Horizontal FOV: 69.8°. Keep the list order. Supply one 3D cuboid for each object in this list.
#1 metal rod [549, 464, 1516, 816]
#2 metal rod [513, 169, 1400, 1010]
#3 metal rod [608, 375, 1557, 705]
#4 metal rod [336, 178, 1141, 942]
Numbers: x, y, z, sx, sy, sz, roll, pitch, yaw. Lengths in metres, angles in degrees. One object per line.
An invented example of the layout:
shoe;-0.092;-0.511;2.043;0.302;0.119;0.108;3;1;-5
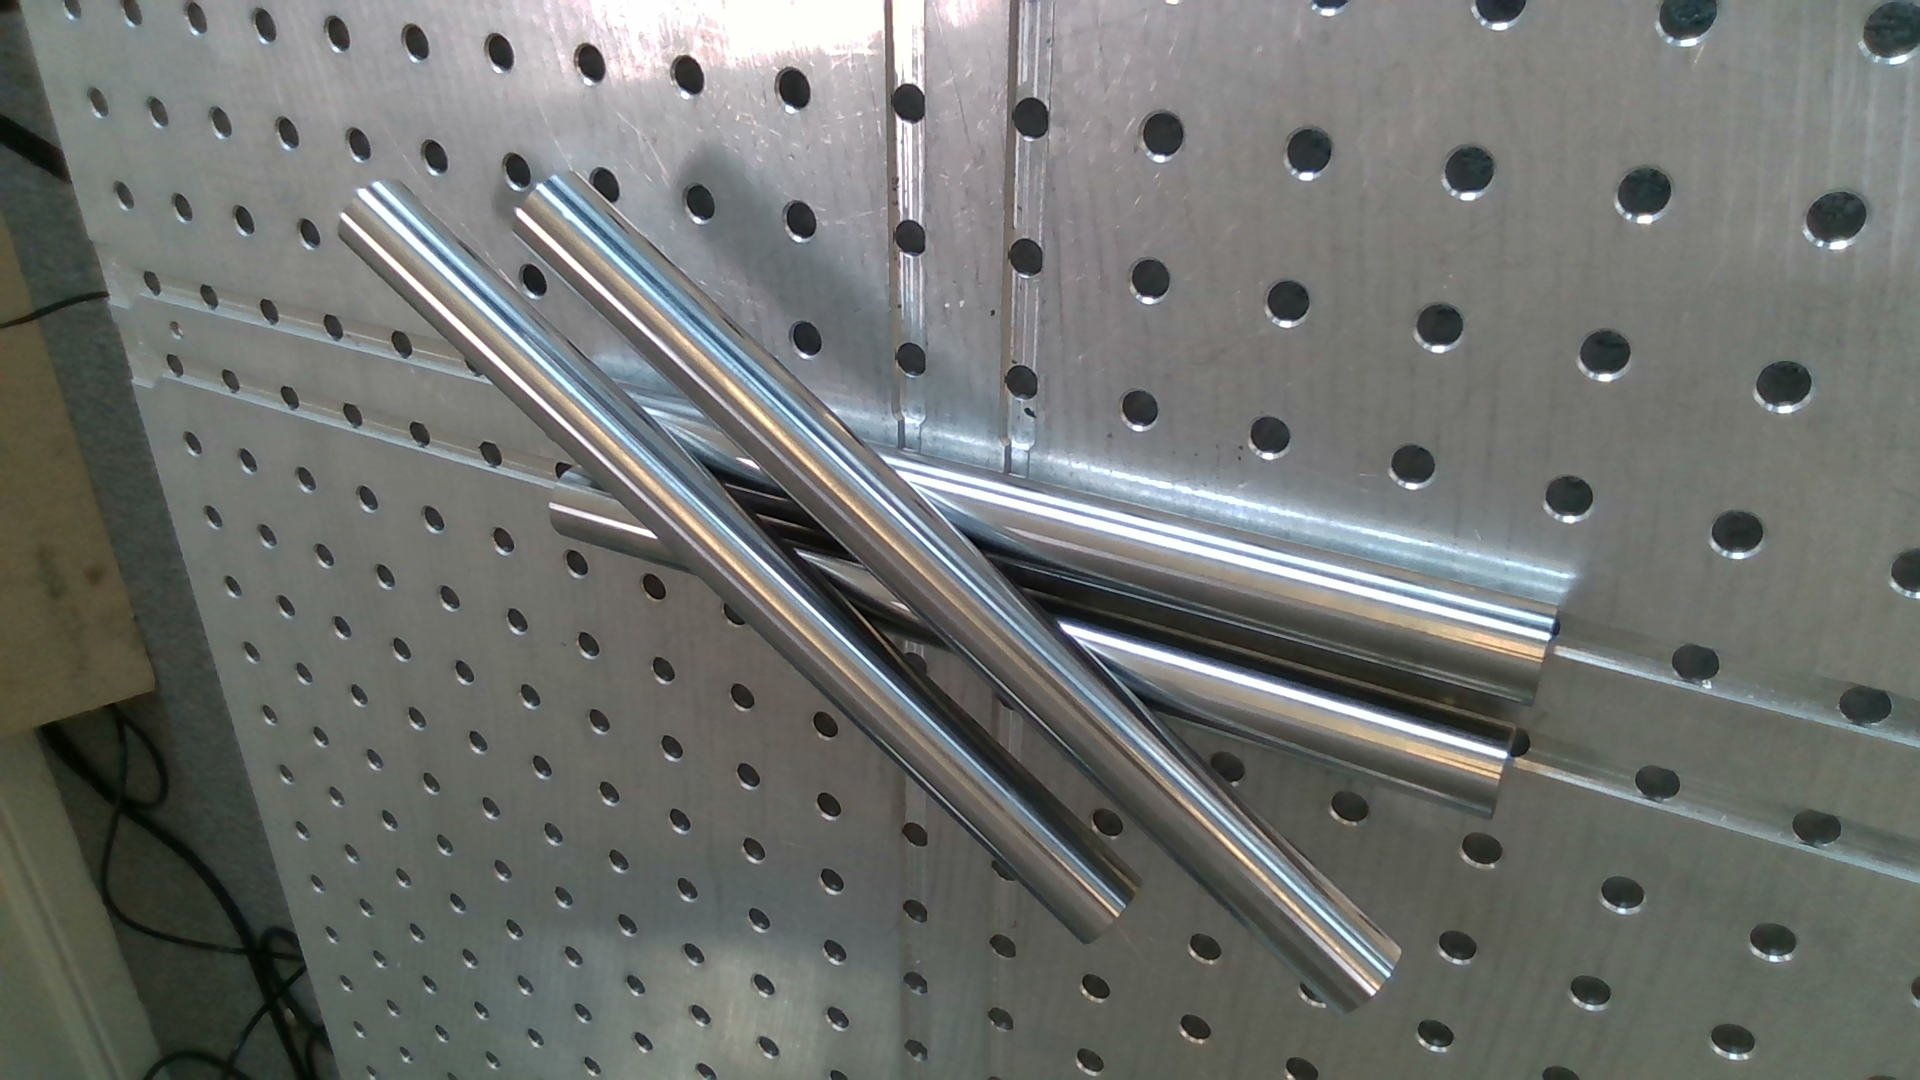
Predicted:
metal rod;0.002;0.021;0.402;0.300;0.025;0.025;15;122;24
metal rod;-0.004;0.010;0.368;0.300;0.025;0.025;43;129;4
metal rod;0.005;-0.009;0.384;0.300;0.025;0.025;15;122;24
metal rod;-0.067;0.003;0.402;0.300;0.025;0.025;43;129;4
